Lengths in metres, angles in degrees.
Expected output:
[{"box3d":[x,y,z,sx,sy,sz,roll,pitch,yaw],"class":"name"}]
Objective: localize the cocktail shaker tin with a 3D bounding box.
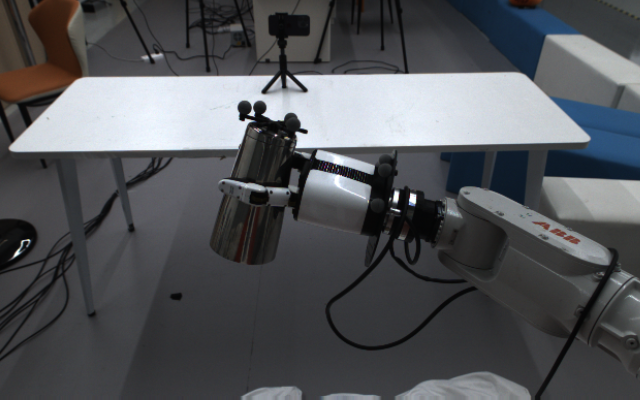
[{"box3d":[-0.083,-0.011,0.639,0.093,0.170,0.093,15,17,-5],"class":"cocktail shaker tin"}]
